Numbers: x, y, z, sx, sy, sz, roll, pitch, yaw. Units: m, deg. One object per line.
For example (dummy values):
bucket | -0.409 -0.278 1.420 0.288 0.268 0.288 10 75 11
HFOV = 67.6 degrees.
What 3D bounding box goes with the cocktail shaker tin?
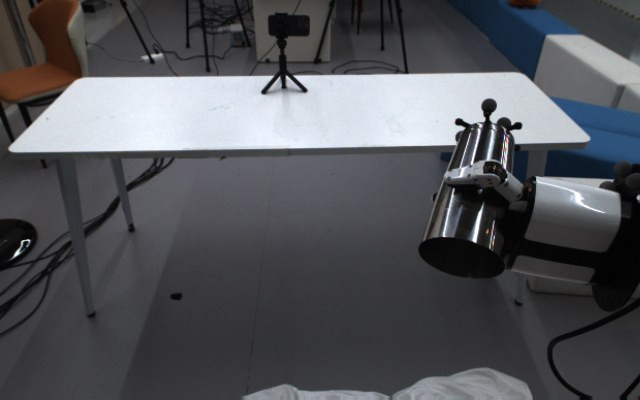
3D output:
cocktail shaker tin | 0.179 -0.006 0.561 0.093 0.093 0.170 14 60 17
